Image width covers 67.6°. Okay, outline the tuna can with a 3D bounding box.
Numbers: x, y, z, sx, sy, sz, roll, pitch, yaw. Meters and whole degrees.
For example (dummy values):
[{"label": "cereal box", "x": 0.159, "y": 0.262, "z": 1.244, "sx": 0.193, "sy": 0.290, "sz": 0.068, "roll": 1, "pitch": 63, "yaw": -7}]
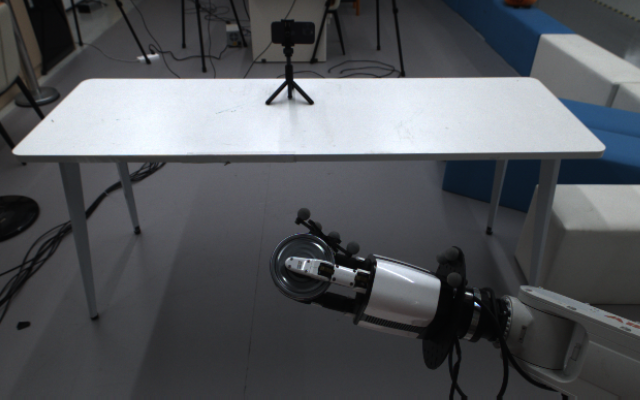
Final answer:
[{"label": "tuna can", "x": -0.018, "y": 0.094, "z": 0.626, "sx": 0.085, "sy": 0.034, "sz": 0.085, "roll": 0, "pitch": 74, "yaw": 0}]
